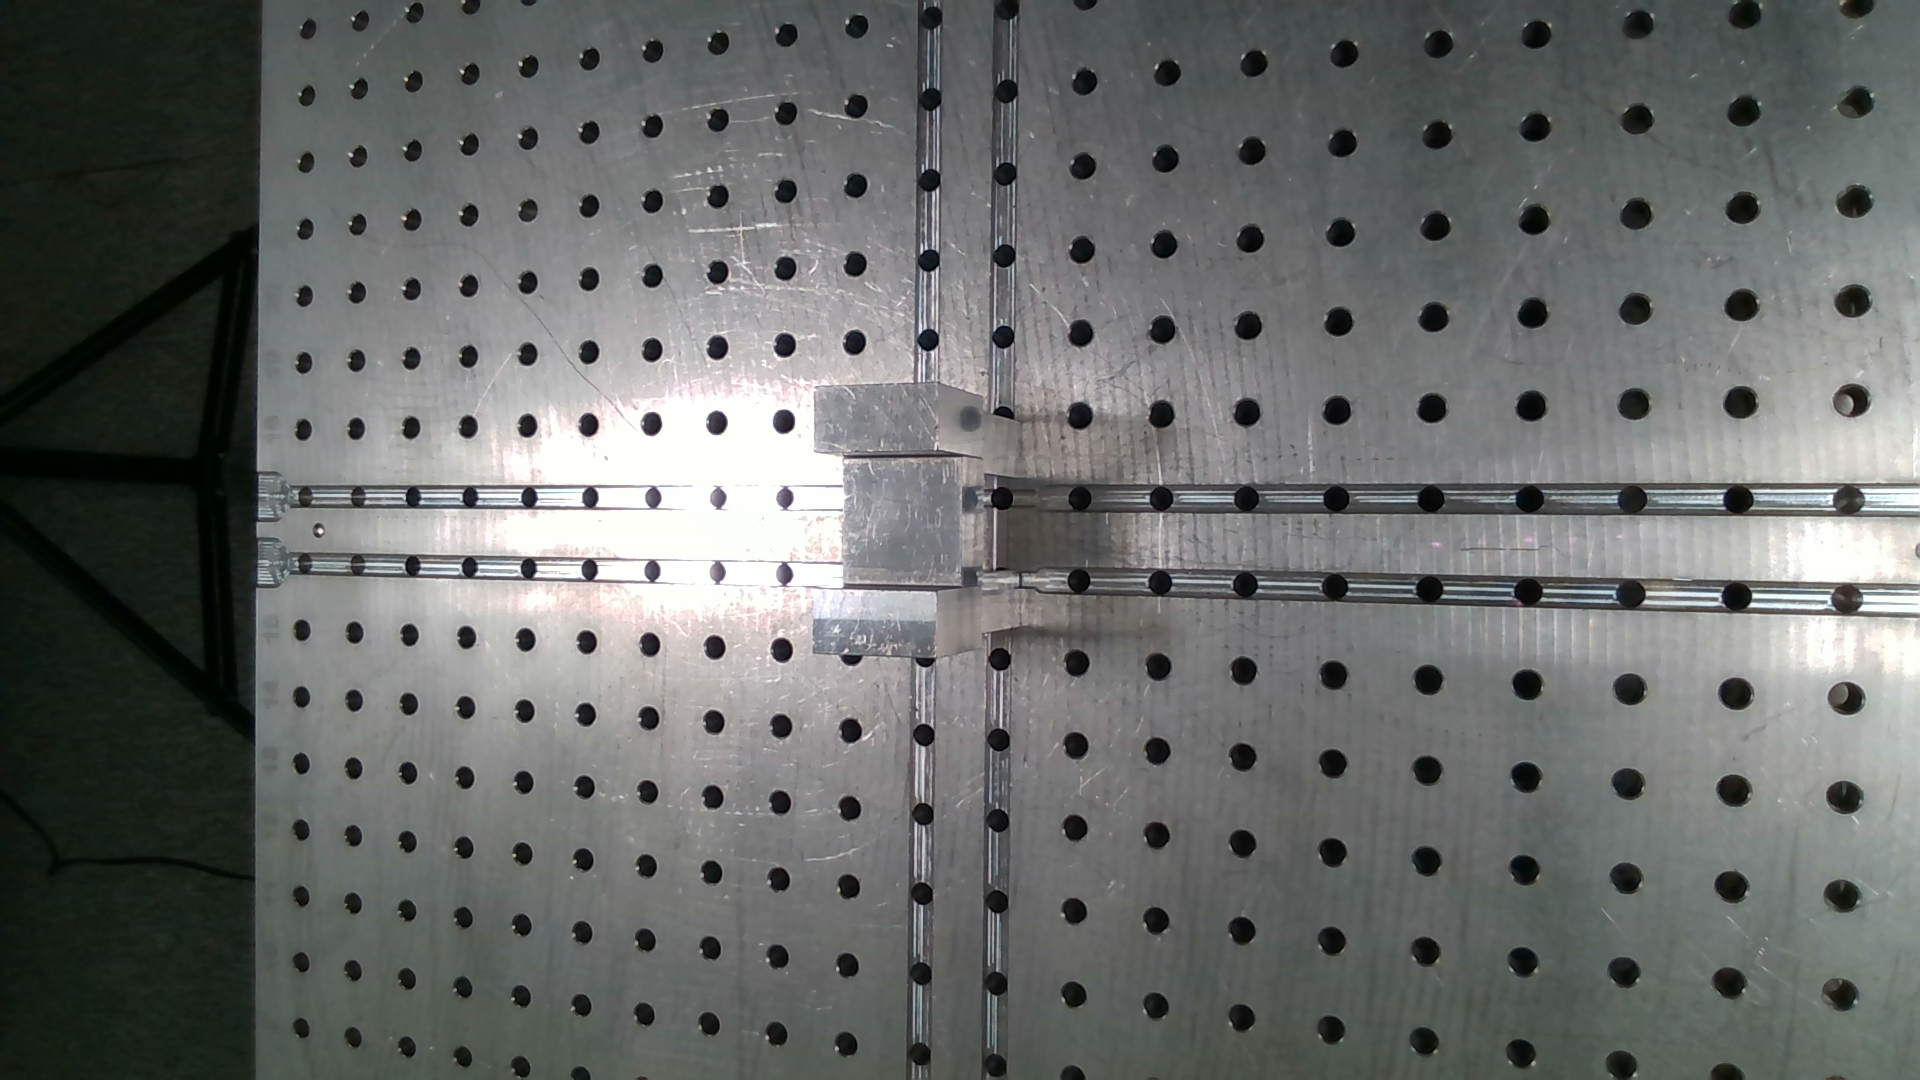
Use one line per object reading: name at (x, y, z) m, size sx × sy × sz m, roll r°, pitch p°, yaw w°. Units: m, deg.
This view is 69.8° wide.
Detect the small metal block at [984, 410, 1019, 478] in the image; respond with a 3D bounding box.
small metal block at (-0.006, -0.039, 0.576) m, size 0.050 × 0.050 × 0.025 m, roll 1°, pitch 90°, yaw 20°

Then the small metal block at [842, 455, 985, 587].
small metal block at (-0.018, -0.007, 0.542) m, size 0.050 × 0.025 × 0.050 m, roll 1°, pitch 91°, yaw 20°

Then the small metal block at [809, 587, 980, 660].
small metal block at (-0.024, 0.031, 0.529) m, size 0.050 × 0.050 × 0.025 m, roll 1°, pitch 90°, yaw 20°

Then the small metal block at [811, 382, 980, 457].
small metal block at (-0.023, -0.045, 0.529) m, size 0.050 × 0.050 × 0.025 m, roll 1°, pitch 90°, yaw 20°

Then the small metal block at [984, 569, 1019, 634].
small metal block at (-0.007, 0.025, 0.577) m, size 0.050 × 0.050 × 0.025 m, roll -1°, pitch 90°, yaw 20°
